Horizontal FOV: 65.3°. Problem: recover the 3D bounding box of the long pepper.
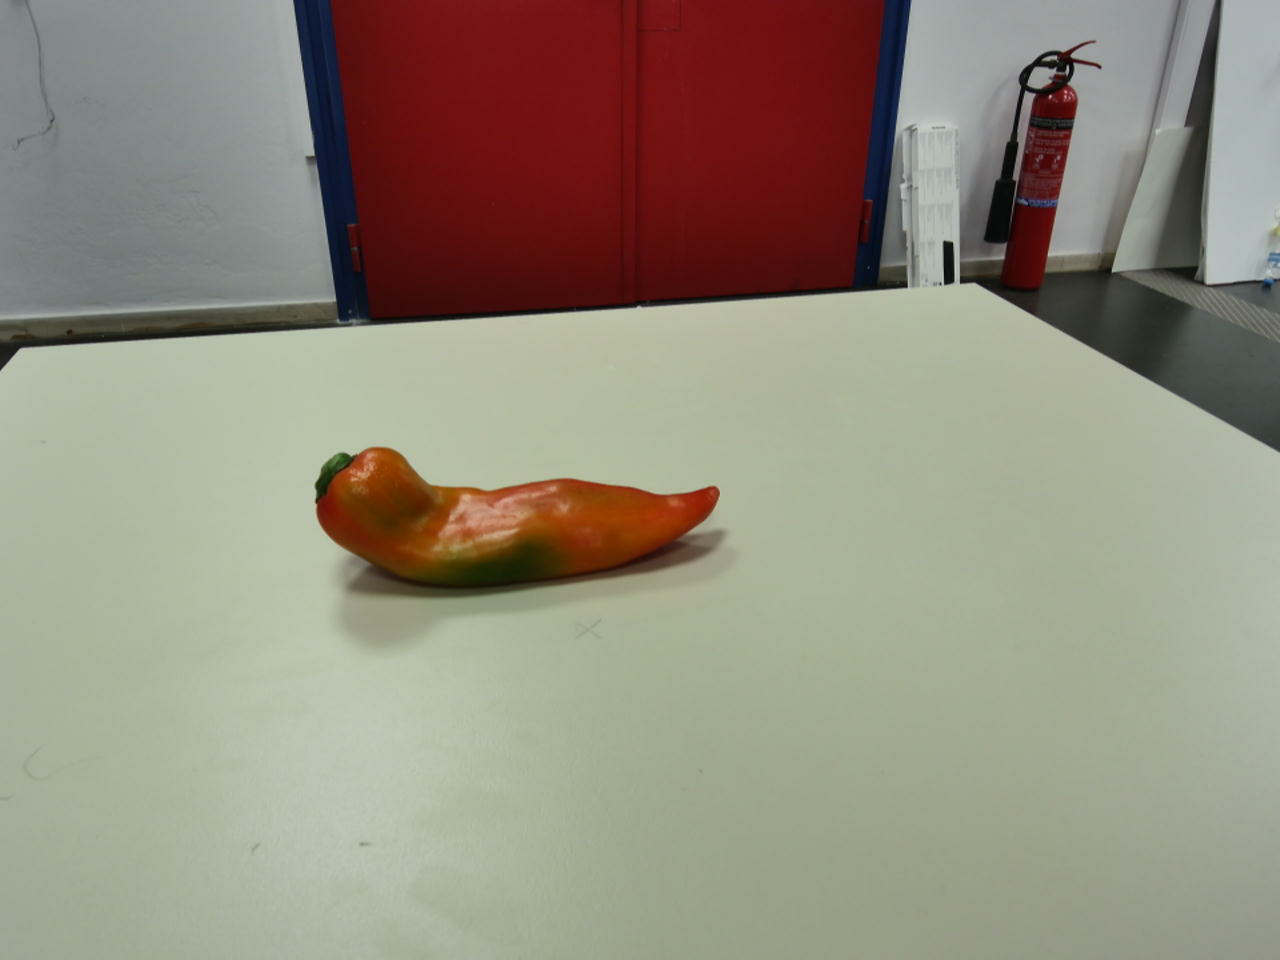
[{"bbox_3d":[-0.056,0.011,0.491,0.199,0.065,0.066,-4,26,-7],"label":"long pepper"}]
